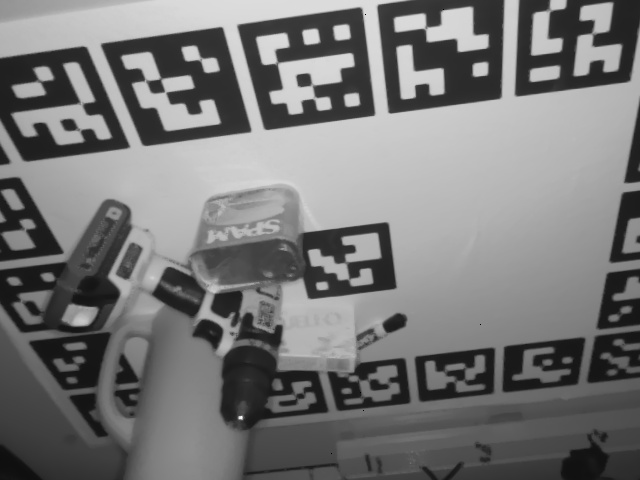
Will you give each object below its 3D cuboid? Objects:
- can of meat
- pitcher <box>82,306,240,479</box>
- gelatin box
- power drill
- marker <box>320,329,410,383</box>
[{"bbox_3d":[-0.065,0.000,0.661,0.101,0.084,0.057,-8,130,6],"label":"can of meat"},{"bbox_3d":[-0.153,0.186,0.718,0.190,0.244,0.131,15,124,-20],"label":"pitcher"},{"bbox_3d":[-0.010,0.116,0.766,0.089,0.074,0.030,3,125,-1],"label":"gelatin box"},{"bbox_3d":[-0.122,0.087,0.669,0.188,0.186,0.056,24,122,-11],"label":"power drill"},{"bbox_3d":[0.052,0.136,0.814,0.120,0.020,0.020,-30,122,20],"label":"marker"}]
